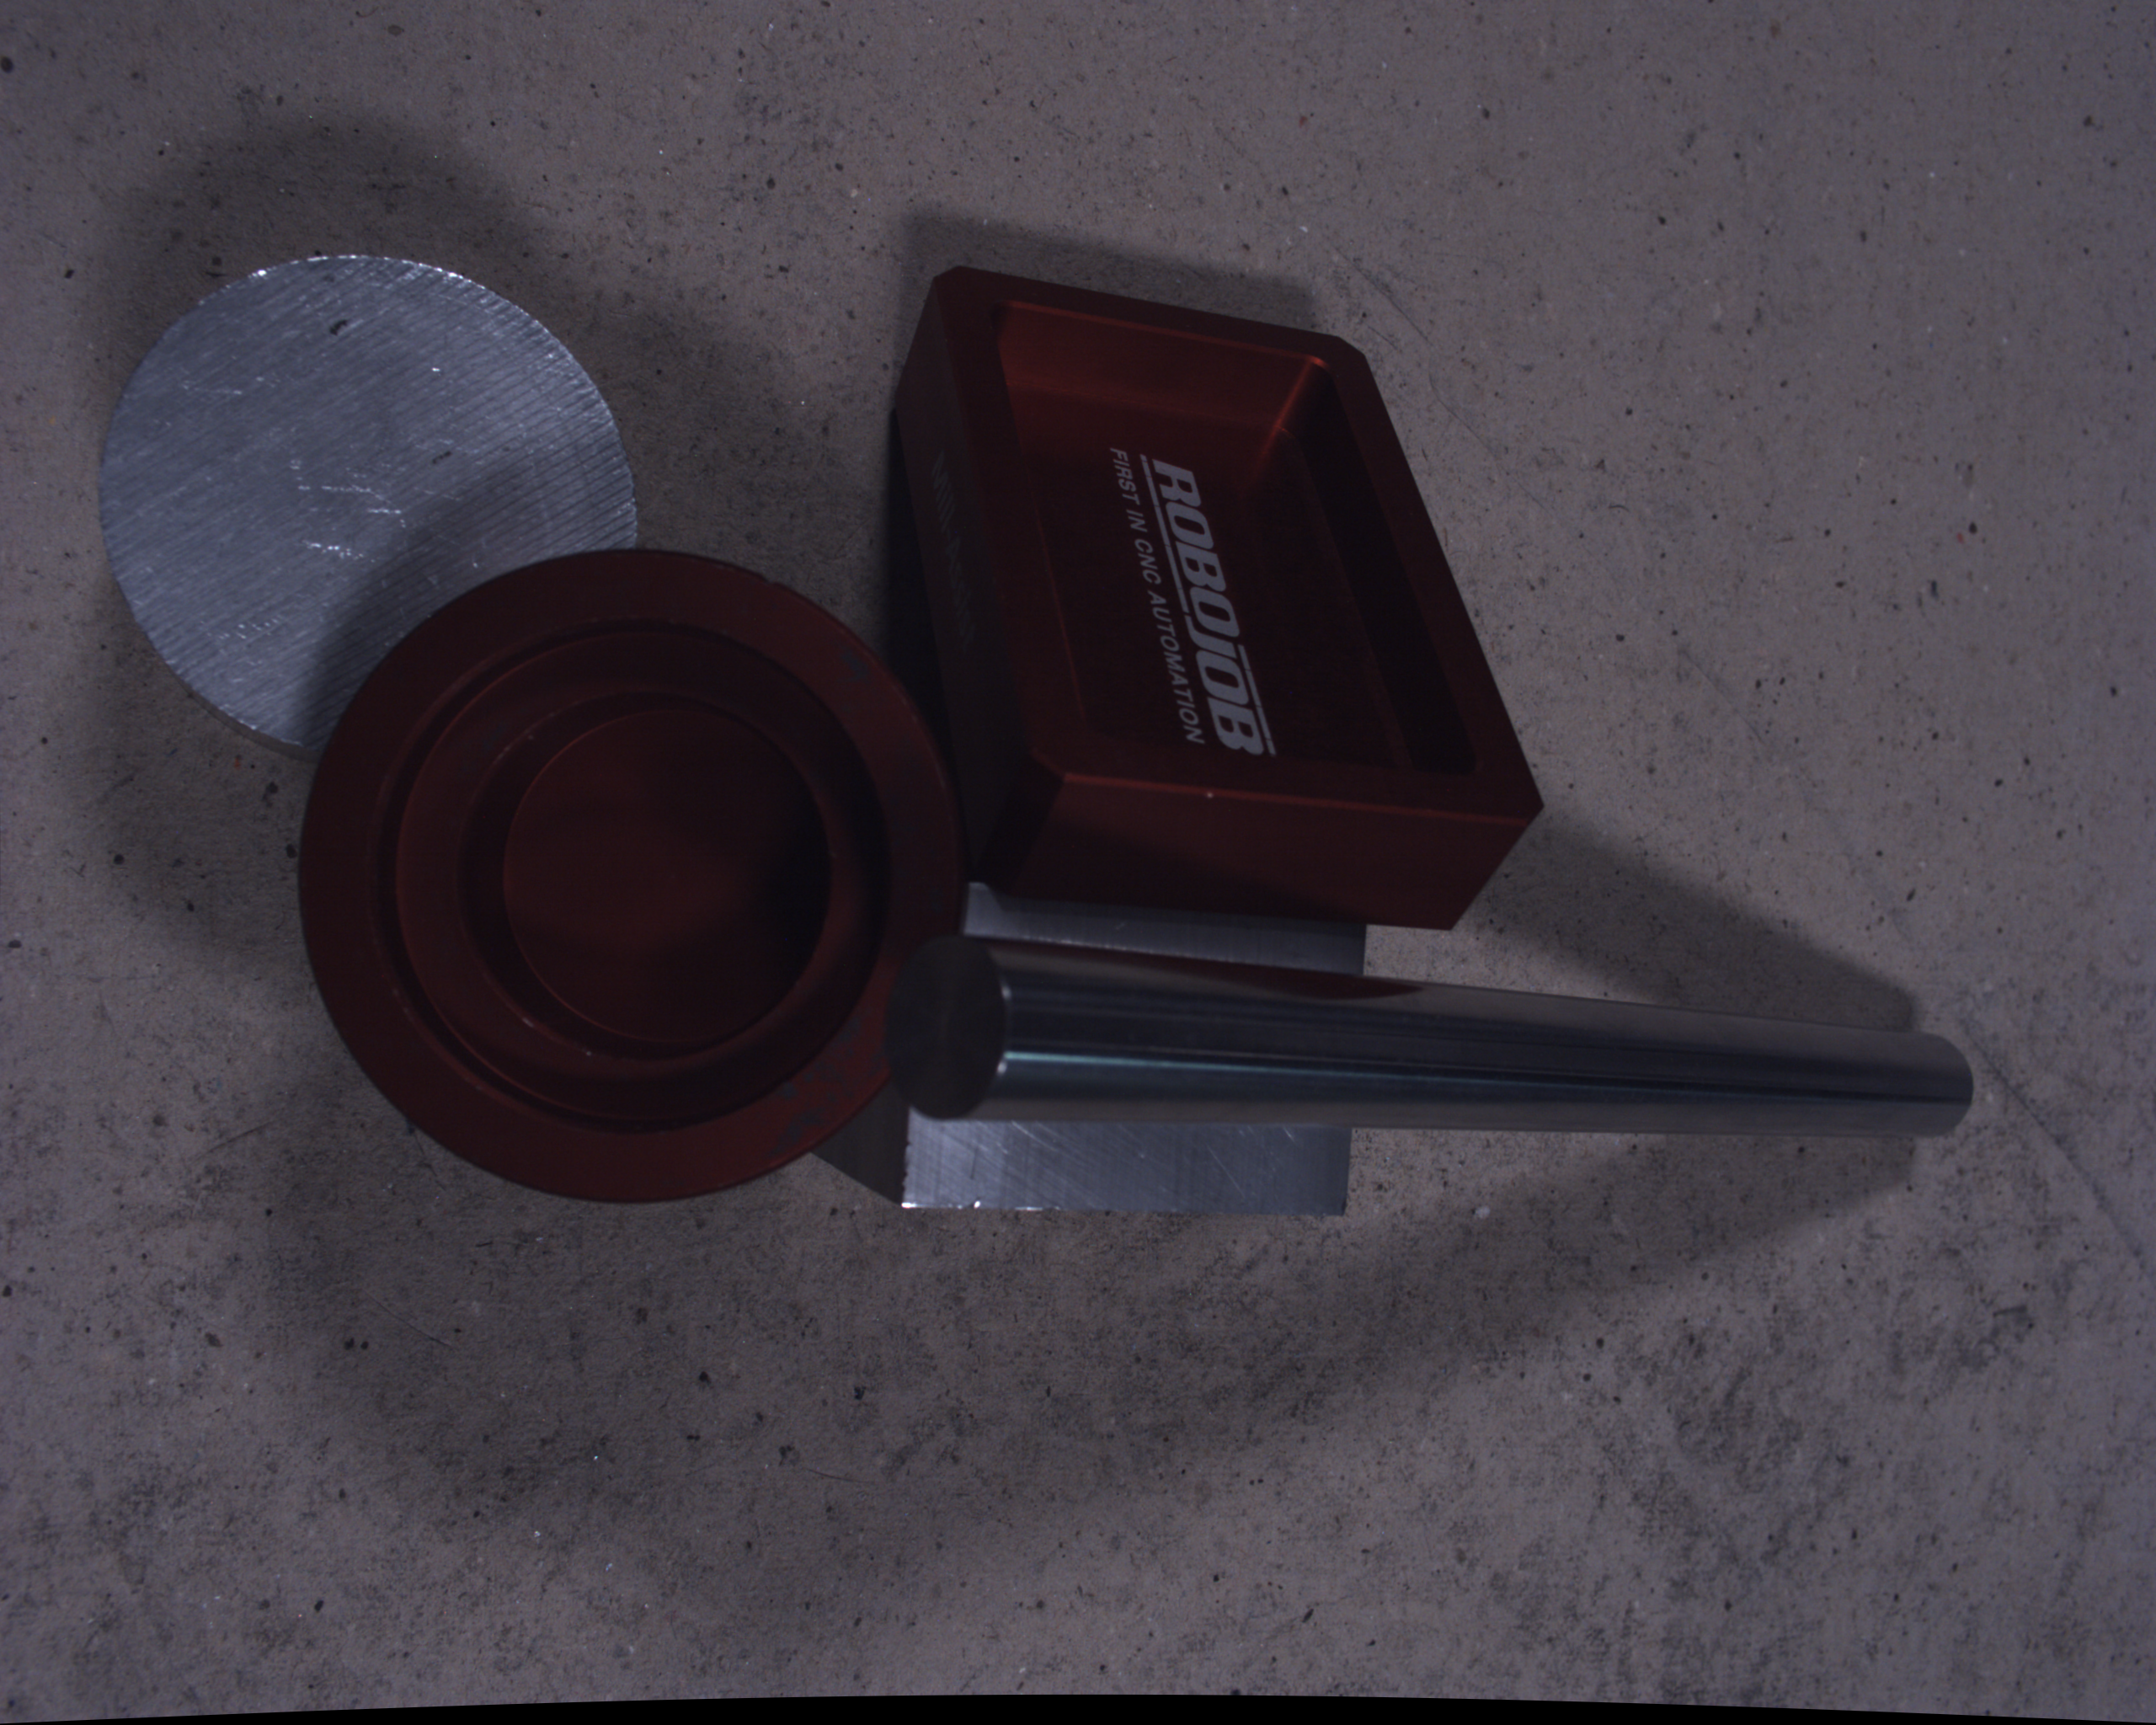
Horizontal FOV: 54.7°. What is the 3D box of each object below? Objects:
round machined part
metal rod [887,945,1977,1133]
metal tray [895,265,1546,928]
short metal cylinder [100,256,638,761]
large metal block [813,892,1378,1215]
[{"bbox_3d":[-0.067,0.002,0.330,0.099,0.042,0.097,0,89,0],"label":"round machined part"},{"bbox_3d":[0.090,0.037,0.382,0.302,0.025,0.025,7,88,-44],"label":"metal rod"},{"bbox_3d":[0.021,-0.050,0.376,0.091,0.030,0.130,5,49,-20],"label":"metal tray"},{"bbox_3d":[-0.119,-0.056,0.353,0.081,0.050,0.079,0,90,-21],"label":"short metal cylinder"},{"bbox_3d":[-0.002,0.032,0.381,0.081,0.080,0.050,5,89,-20],"label":"large metal block"}]
